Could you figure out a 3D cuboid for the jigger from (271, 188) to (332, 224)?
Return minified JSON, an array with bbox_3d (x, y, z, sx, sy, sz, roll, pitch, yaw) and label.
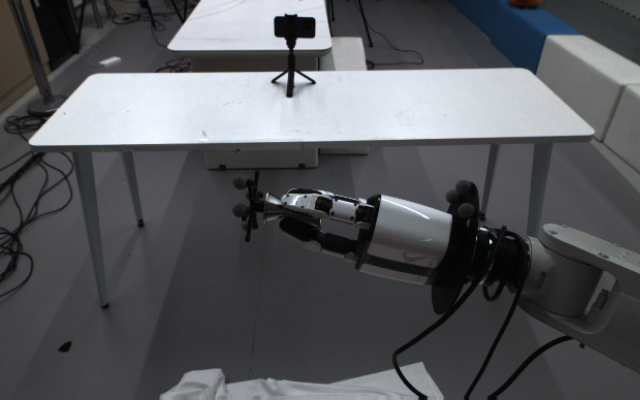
[{"bbox_3d":[-0.024,0.008,0.588,0.071,0.043,0.043,5,35,2],"label":"jigger"}]
